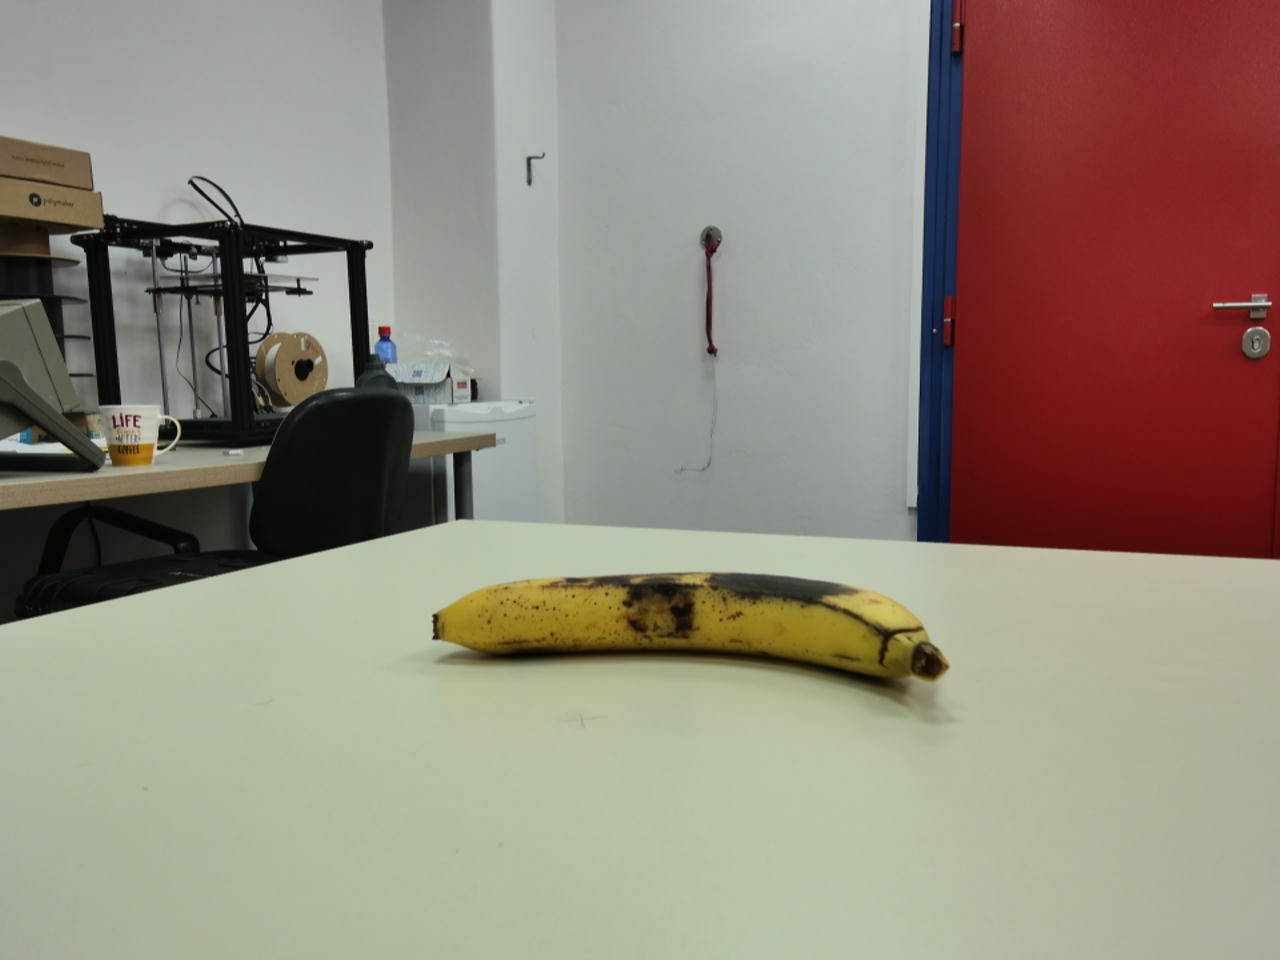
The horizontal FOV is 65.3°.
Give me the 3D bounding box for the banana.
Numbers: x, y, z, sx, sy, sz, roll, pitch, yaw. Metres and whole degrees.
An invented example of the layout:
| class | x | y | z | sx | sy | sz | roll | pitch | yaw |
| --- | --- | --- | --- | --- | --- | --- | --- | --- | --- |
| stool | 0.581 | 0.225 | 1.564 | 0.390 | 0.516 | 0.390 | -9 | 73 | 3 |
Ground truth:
| class | x | y | z | sx | sy | sz | roll | pitch | yaw |
| --- | --- | --- | --- | --- | --- | --- | --- | --- | --- |
| banana | 0.023 | 0.061 | 0.431 | 0.222 | 0.037 | 0.084 | 2 | 4 | 25 |
